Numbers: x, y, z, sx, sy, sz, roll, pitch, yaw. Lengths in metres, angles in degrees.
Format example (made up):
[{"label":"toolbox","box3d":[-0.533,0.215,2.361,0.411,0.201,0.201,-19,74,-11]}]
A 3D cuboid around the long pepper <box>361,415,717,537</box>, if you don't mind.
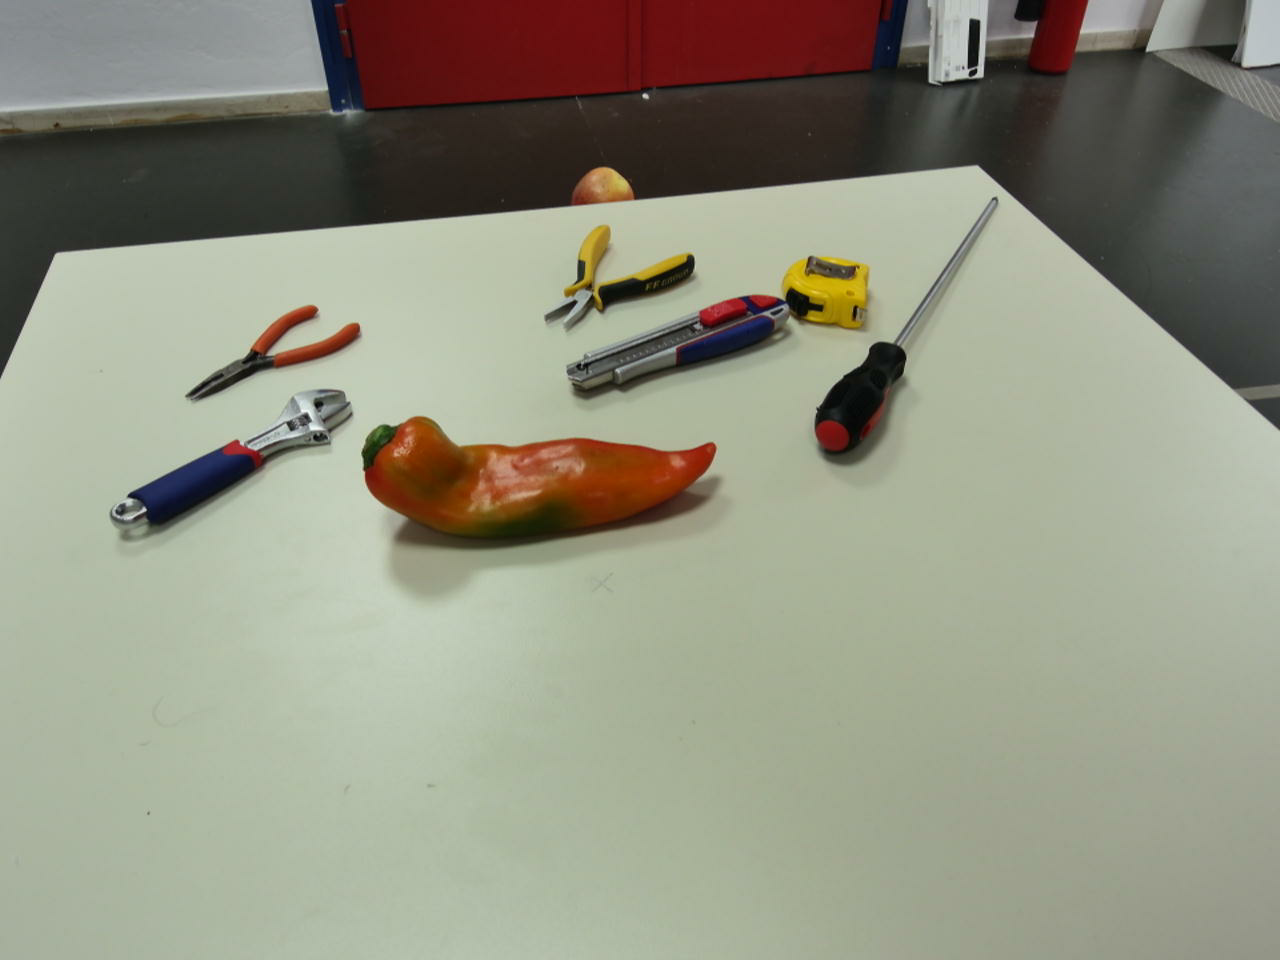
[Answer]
[{"label":"long pepper","box3d":[-0.054,-0.009,0.561,0.199,0.065,0.066,-5,40,-6]}]
